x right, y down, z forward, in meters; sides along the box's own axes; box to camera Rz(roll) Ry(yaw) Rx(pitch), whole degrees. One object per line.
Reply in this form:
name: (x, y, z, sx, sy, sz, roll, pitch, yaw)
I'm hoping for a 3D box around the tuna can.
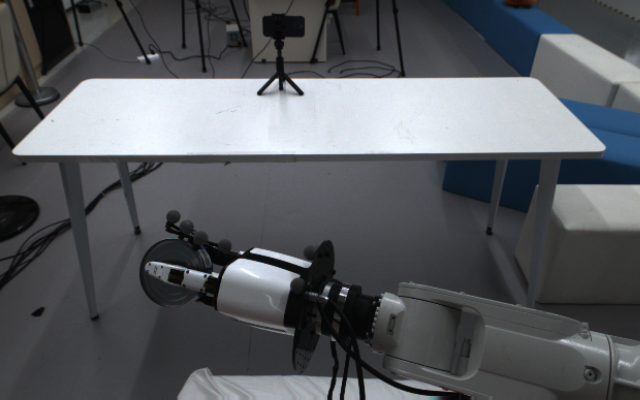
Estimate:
tuna can: (-0.179, 0.093, 0.614, 0.085, 0.085, 0.034, 10, -4, 11)
